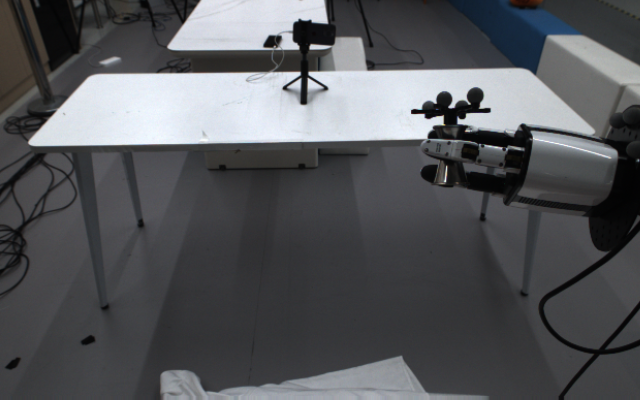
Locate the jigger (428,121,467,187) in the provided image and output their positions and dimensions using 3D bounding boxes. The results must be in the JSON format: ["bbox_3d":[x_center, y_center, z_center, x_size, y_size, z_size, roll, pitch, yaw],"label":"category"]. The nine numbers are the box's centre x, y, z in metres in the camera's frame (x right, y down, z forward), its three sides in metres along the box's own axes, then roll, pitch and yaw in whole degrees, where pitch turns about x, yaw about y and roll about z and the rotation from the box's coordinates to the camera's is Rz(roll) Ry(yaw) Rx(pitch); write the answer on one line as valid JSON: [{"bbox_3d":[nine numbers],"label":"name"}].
[{"bbox_3d":[0.151,-0.052,0.565,0.043,0.071,0.043,-1,2,0],"label":"jigger"}]
